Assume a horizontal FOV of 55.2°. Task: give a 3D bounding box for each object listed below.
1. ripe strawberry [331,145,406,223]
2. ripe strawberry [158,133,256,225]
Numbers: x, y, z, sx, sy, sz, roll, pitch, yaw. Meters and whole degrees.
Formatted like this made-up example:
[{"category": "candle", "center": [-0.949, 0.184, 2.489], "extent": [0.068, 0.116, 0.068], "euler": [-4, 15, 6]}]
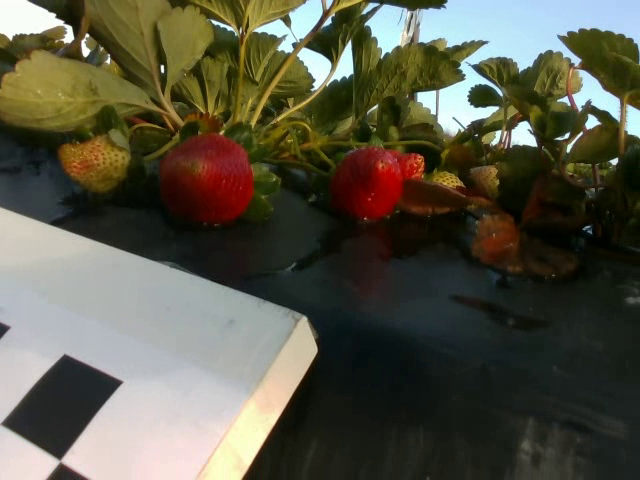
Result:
[{"category": "ripe strawberry", "center": [0.024, -0.030, 0.312], "extent": [0.044, 0.042, 0.055], "euler": [-34, -2, -13]}, {"category": "ripe strawberry", "center": [-0.057, -0.034, 0.284], "extent": [0.050, 0.050, 0.065], "euler": [-17, -8, 3]}]
